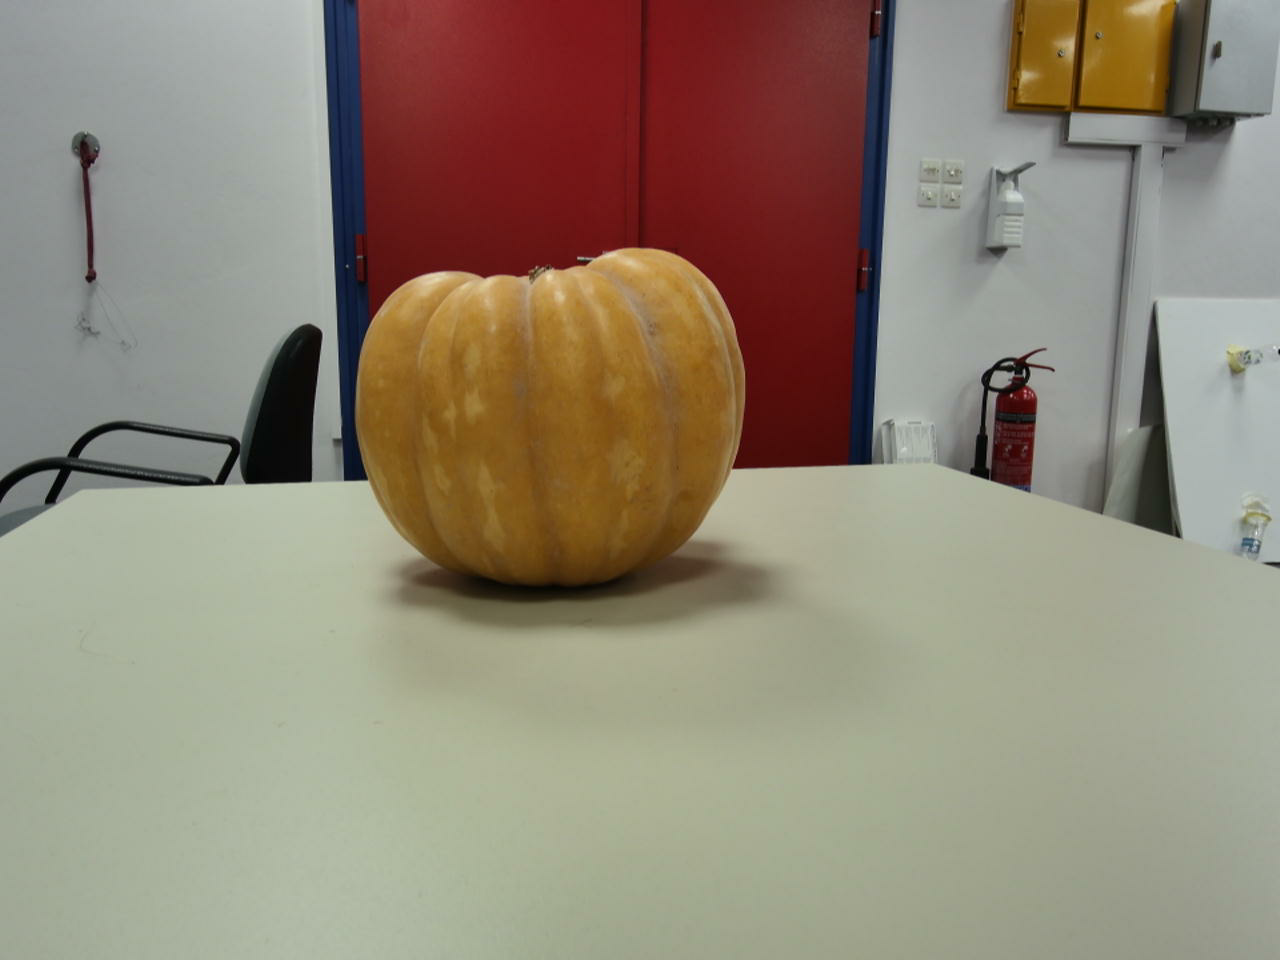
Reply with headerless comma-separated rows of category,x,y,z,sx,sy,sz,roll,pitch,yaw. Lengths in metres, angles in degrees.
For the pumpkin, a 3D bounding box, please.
pumpkin,-0.048,-0.038,0.592,0.230,0.194,0.230,0,8,0
